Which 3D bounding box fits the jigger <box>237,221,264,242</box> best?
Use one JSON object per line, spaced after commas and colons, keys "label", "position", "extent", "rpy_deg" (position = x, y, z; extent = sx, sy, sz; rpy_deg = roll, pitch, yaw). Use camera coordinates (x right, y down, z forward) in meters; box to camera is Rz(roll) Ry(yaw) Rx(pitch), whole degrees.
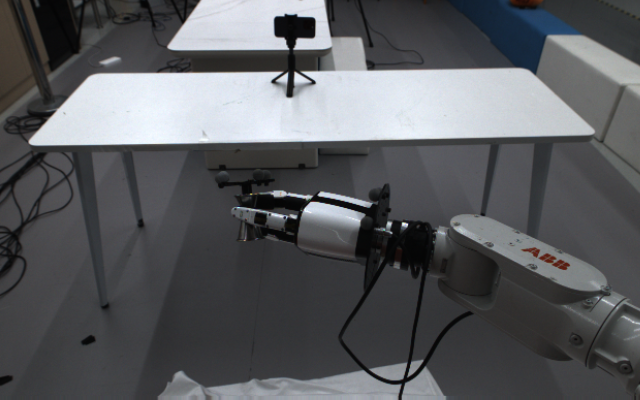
{"label": "jigger", "position": [-0.106, 0.025, 0.720], "extent": [0.043, 0.071, 0.043], "rpy_deg": [-4, 2, 0]}
